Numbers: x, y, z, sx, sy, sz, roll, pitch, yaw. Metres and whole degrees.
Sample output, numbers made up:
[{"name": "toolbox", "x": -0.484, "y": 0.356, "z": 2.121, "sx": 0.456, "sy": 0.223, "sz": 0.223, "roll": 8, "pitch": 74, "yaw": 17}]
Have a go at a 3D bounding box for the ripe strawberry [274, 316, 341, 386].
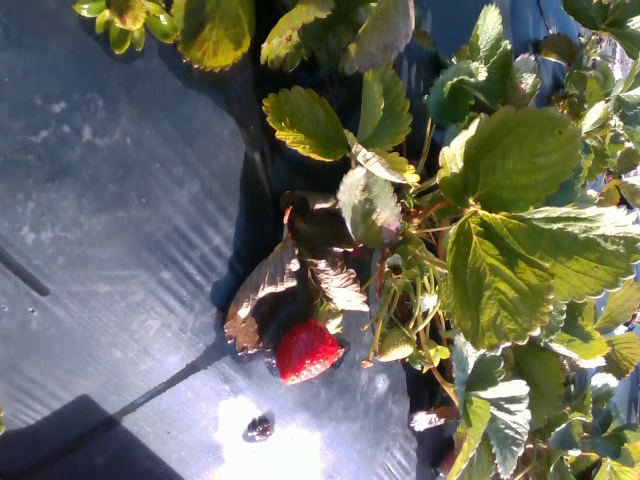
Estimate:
[{"name": "ripe strawberry", "x": -0.014, "y": 0.065, "z": 0.284, "sx": 0.037, "sy": 0.047, "sz": 0.054, "roll": 15, "pitch": 36, "yaw": 31}]
